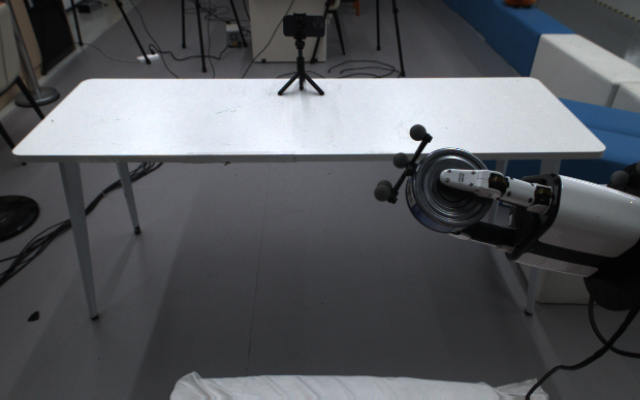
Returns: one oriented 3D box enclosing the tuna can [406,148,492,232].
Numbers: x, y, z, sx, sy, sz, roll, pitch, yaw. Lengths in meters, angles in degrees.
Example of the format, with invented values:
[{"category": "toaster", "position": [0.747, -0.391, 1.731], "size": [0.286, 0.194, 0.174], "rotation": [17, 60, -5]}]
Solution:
[{"category": "tuna can", "position": [0.138, -0.013, 0.507], "size": [0.085, 0.034, 0.085], "rotation": [1, 75, -5]}]
